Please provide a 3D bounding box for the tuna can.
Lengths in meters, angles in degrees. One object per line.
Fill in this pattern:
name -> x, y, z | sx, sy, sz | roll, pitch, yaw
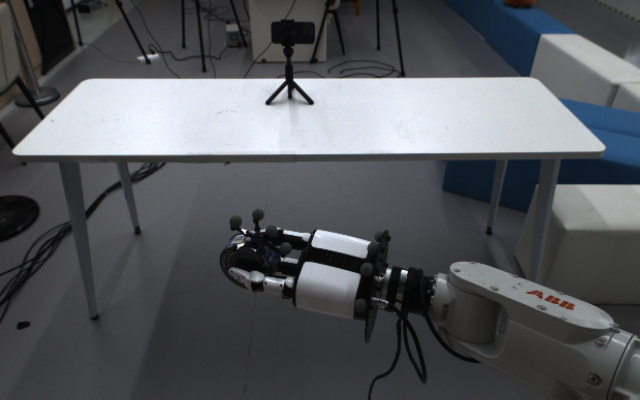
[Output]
tuna can -> -0.101, 0.097, 0.709 | 0.085, 0.085, 0.034 | 12, 35, 14
